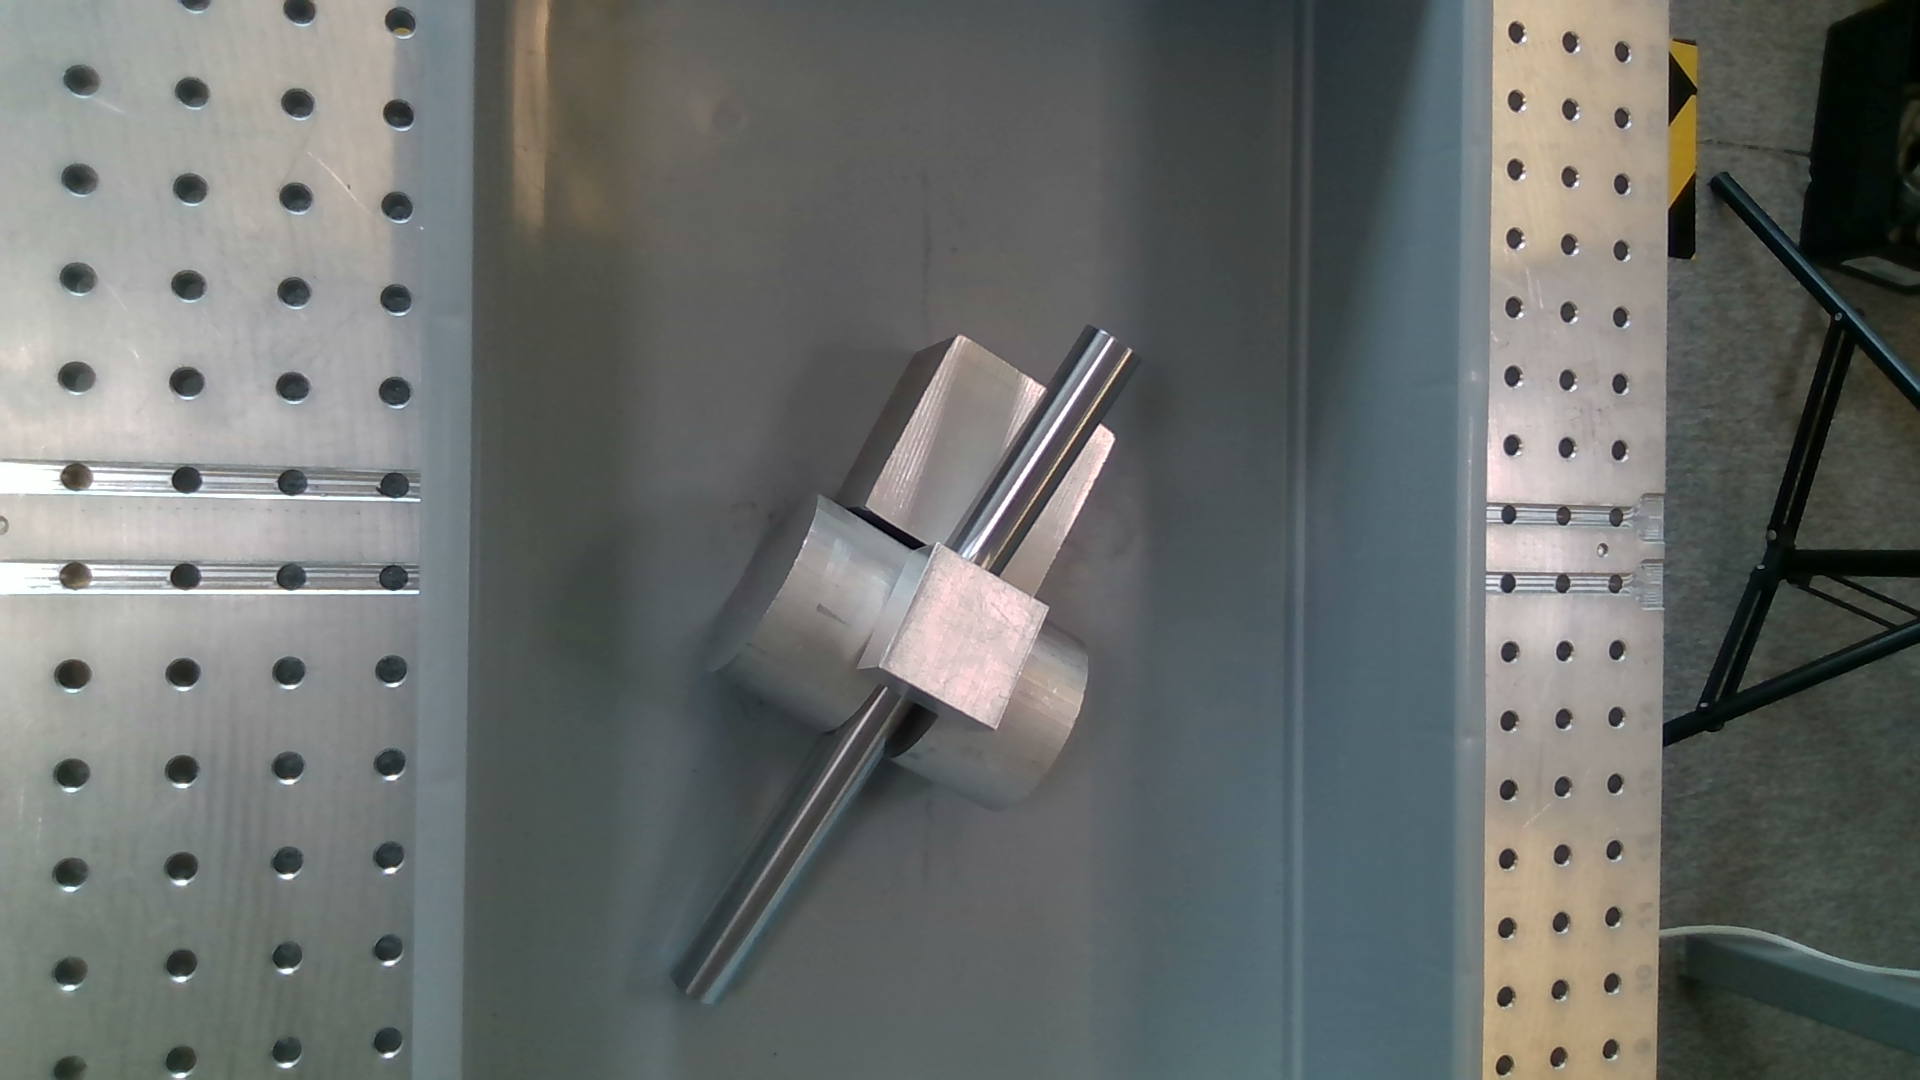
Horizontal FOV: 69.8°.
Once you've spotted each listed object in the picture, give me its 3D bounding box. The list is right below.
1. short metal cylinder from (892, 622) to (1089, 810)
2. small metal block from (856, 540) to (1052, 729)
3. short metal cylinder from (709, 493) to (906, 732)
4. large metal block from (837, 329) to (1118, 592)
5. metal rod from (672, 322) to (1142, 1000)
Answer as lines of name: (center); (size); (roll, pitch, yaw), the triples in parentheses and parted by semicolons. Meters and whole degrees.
short metal cylinder: (0.008, 0.062, 0.560); (0.050, 0.080, 0.080); (29, 80, -18)
small metal block: (-0.002, 0.035, 0.501); (0.050, 0.025, 0.050); (31, 72, -18)
short metal cylinder: (-0.056, 0.027, 0.535); (0.050, 0.080, 0.080); (31, 80, -18)
large metal block: (0.005, -0.029, 0.571); (0.080, 0.050, 0.080); (31, 80, -18)
metal rod: (-0.022, 0.049, 0.535); (0.025, 0.025, 0.300); (31, 95, -18)
